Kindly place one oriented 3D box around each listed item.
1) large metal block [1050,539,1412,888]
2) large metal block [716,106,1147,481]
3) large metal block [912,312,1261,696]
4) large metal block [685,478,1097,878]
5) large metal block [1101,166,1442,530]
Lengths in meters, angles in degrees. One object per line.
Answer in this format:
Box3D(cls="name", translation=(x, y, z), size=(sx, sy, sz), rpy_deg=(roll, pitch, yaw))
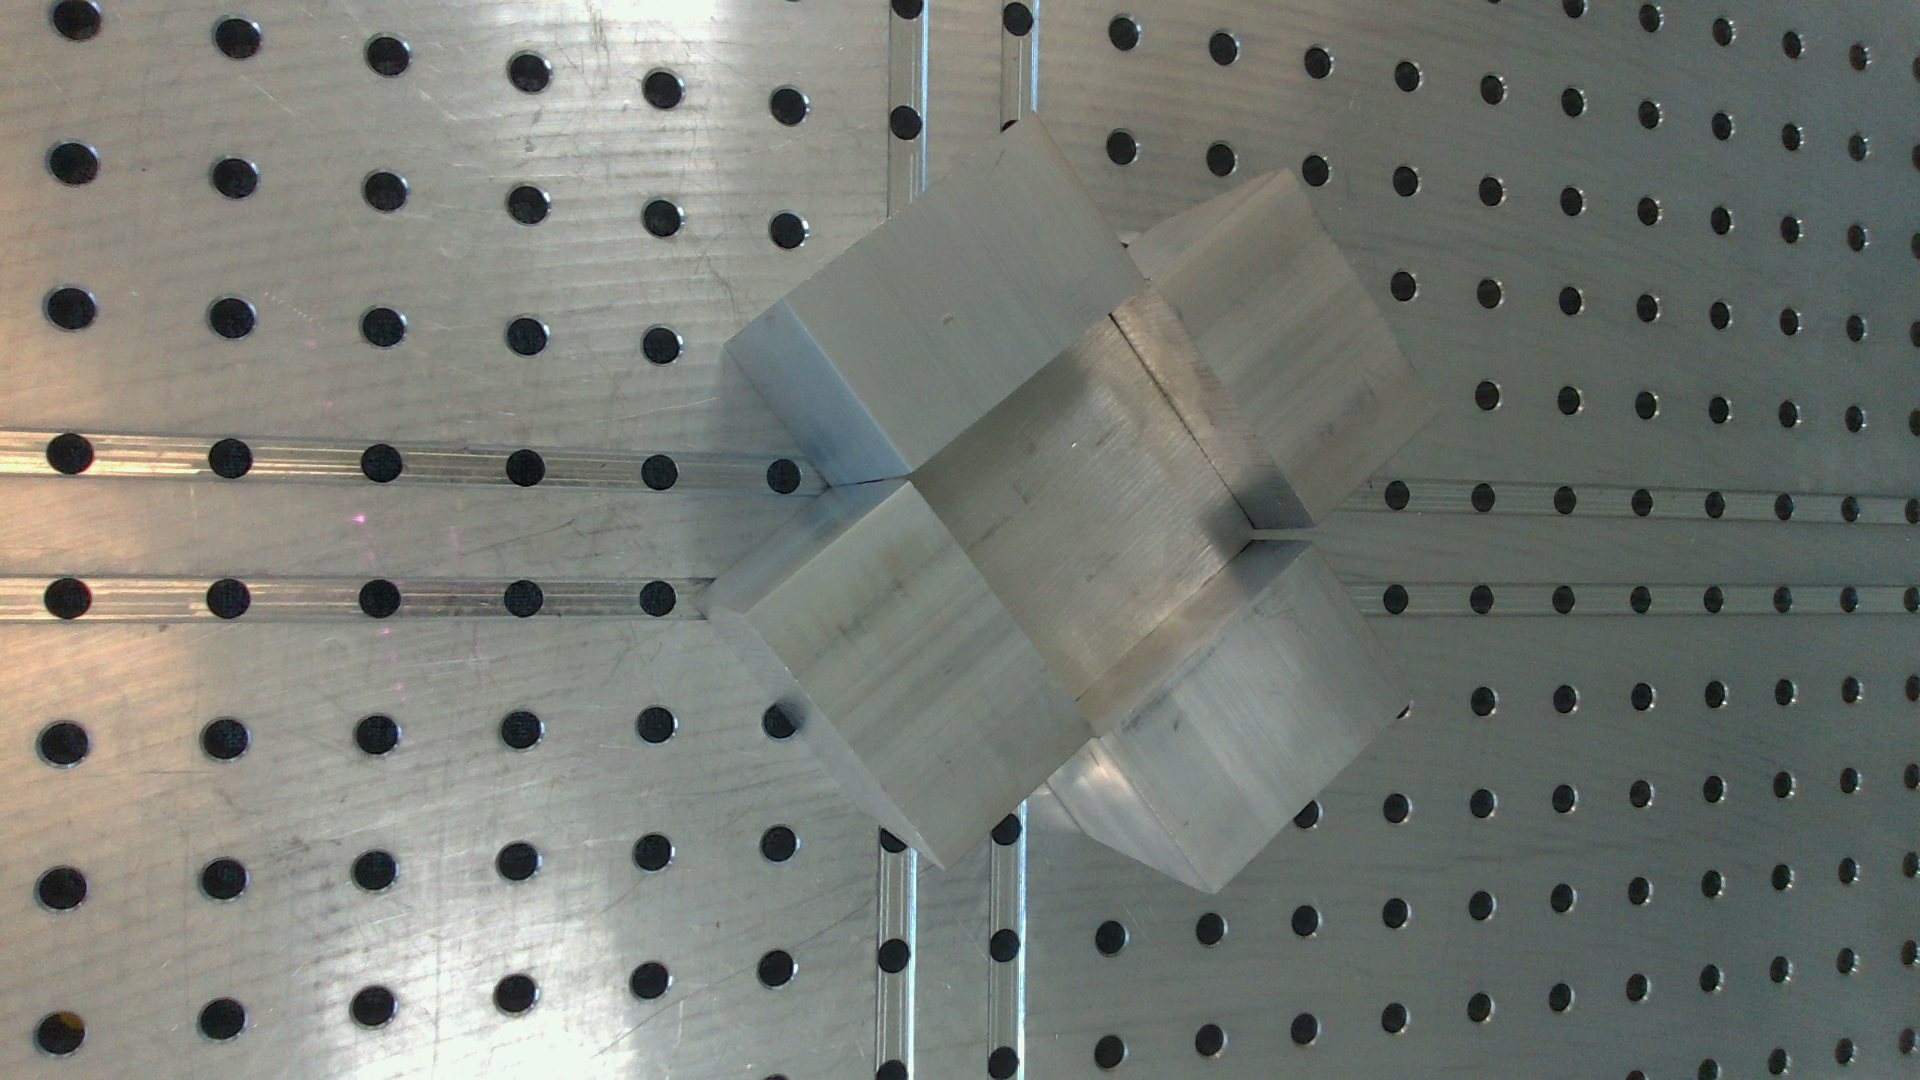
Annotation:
Box3D(cls="large metal block", translation=(0.064, 0.044, 0.391), size=(0.080, 0.080, 0.050), rpy_deg=(-39, 102, -16))
Box3D(cls="large metal block", translation=(-0.011, -0.060, 0.363), size=(0.080, 0.080, 0.050), rpy_deg=(-40, 103, -15))
Box3D(cls="large metal block", translation=(0.023, -0.008, 0.390), size=(0.080, 0.050, 0.080), rpy_deg=(-40, 101, -14))
Box3D(cls="large metal block", translation=(-0.022, 0.032, 0.358), size=(0.050, 0.080, 0.080), rpy_deg=(-40, 103, -15))
Box3D(cls="large metal block", translation=(0.075, -0.050, 0.394), size=(0.050, 0.080, 0.080), rpy_deg=(-40, 103, -16))
